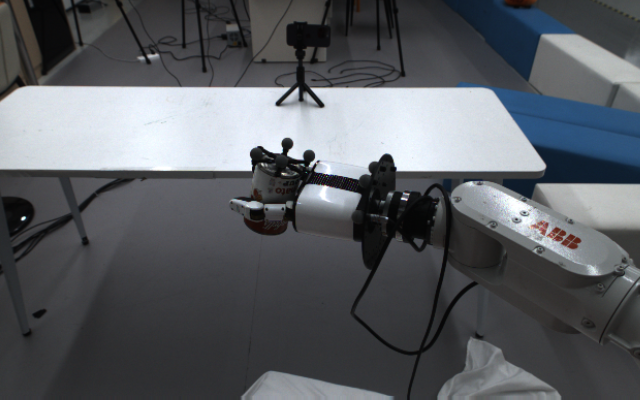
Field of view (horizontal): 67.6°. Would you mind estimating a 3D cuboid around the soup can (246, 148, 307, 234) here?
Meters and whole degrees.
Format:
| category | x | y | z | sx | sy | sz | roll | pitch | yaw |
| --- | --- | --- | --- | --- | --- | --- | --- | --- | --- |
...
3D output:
| category | x | y | z | sx | sy | sz | roll | pitch | yaw |
| --- | --- | --- | --- | --- | --- | --- | --- | --- | --- |
| soup can | -0.068 | -0.008 | 0.702 | 0.067 | 0.101 | 0.067 | 13 | 31 | -8 |
